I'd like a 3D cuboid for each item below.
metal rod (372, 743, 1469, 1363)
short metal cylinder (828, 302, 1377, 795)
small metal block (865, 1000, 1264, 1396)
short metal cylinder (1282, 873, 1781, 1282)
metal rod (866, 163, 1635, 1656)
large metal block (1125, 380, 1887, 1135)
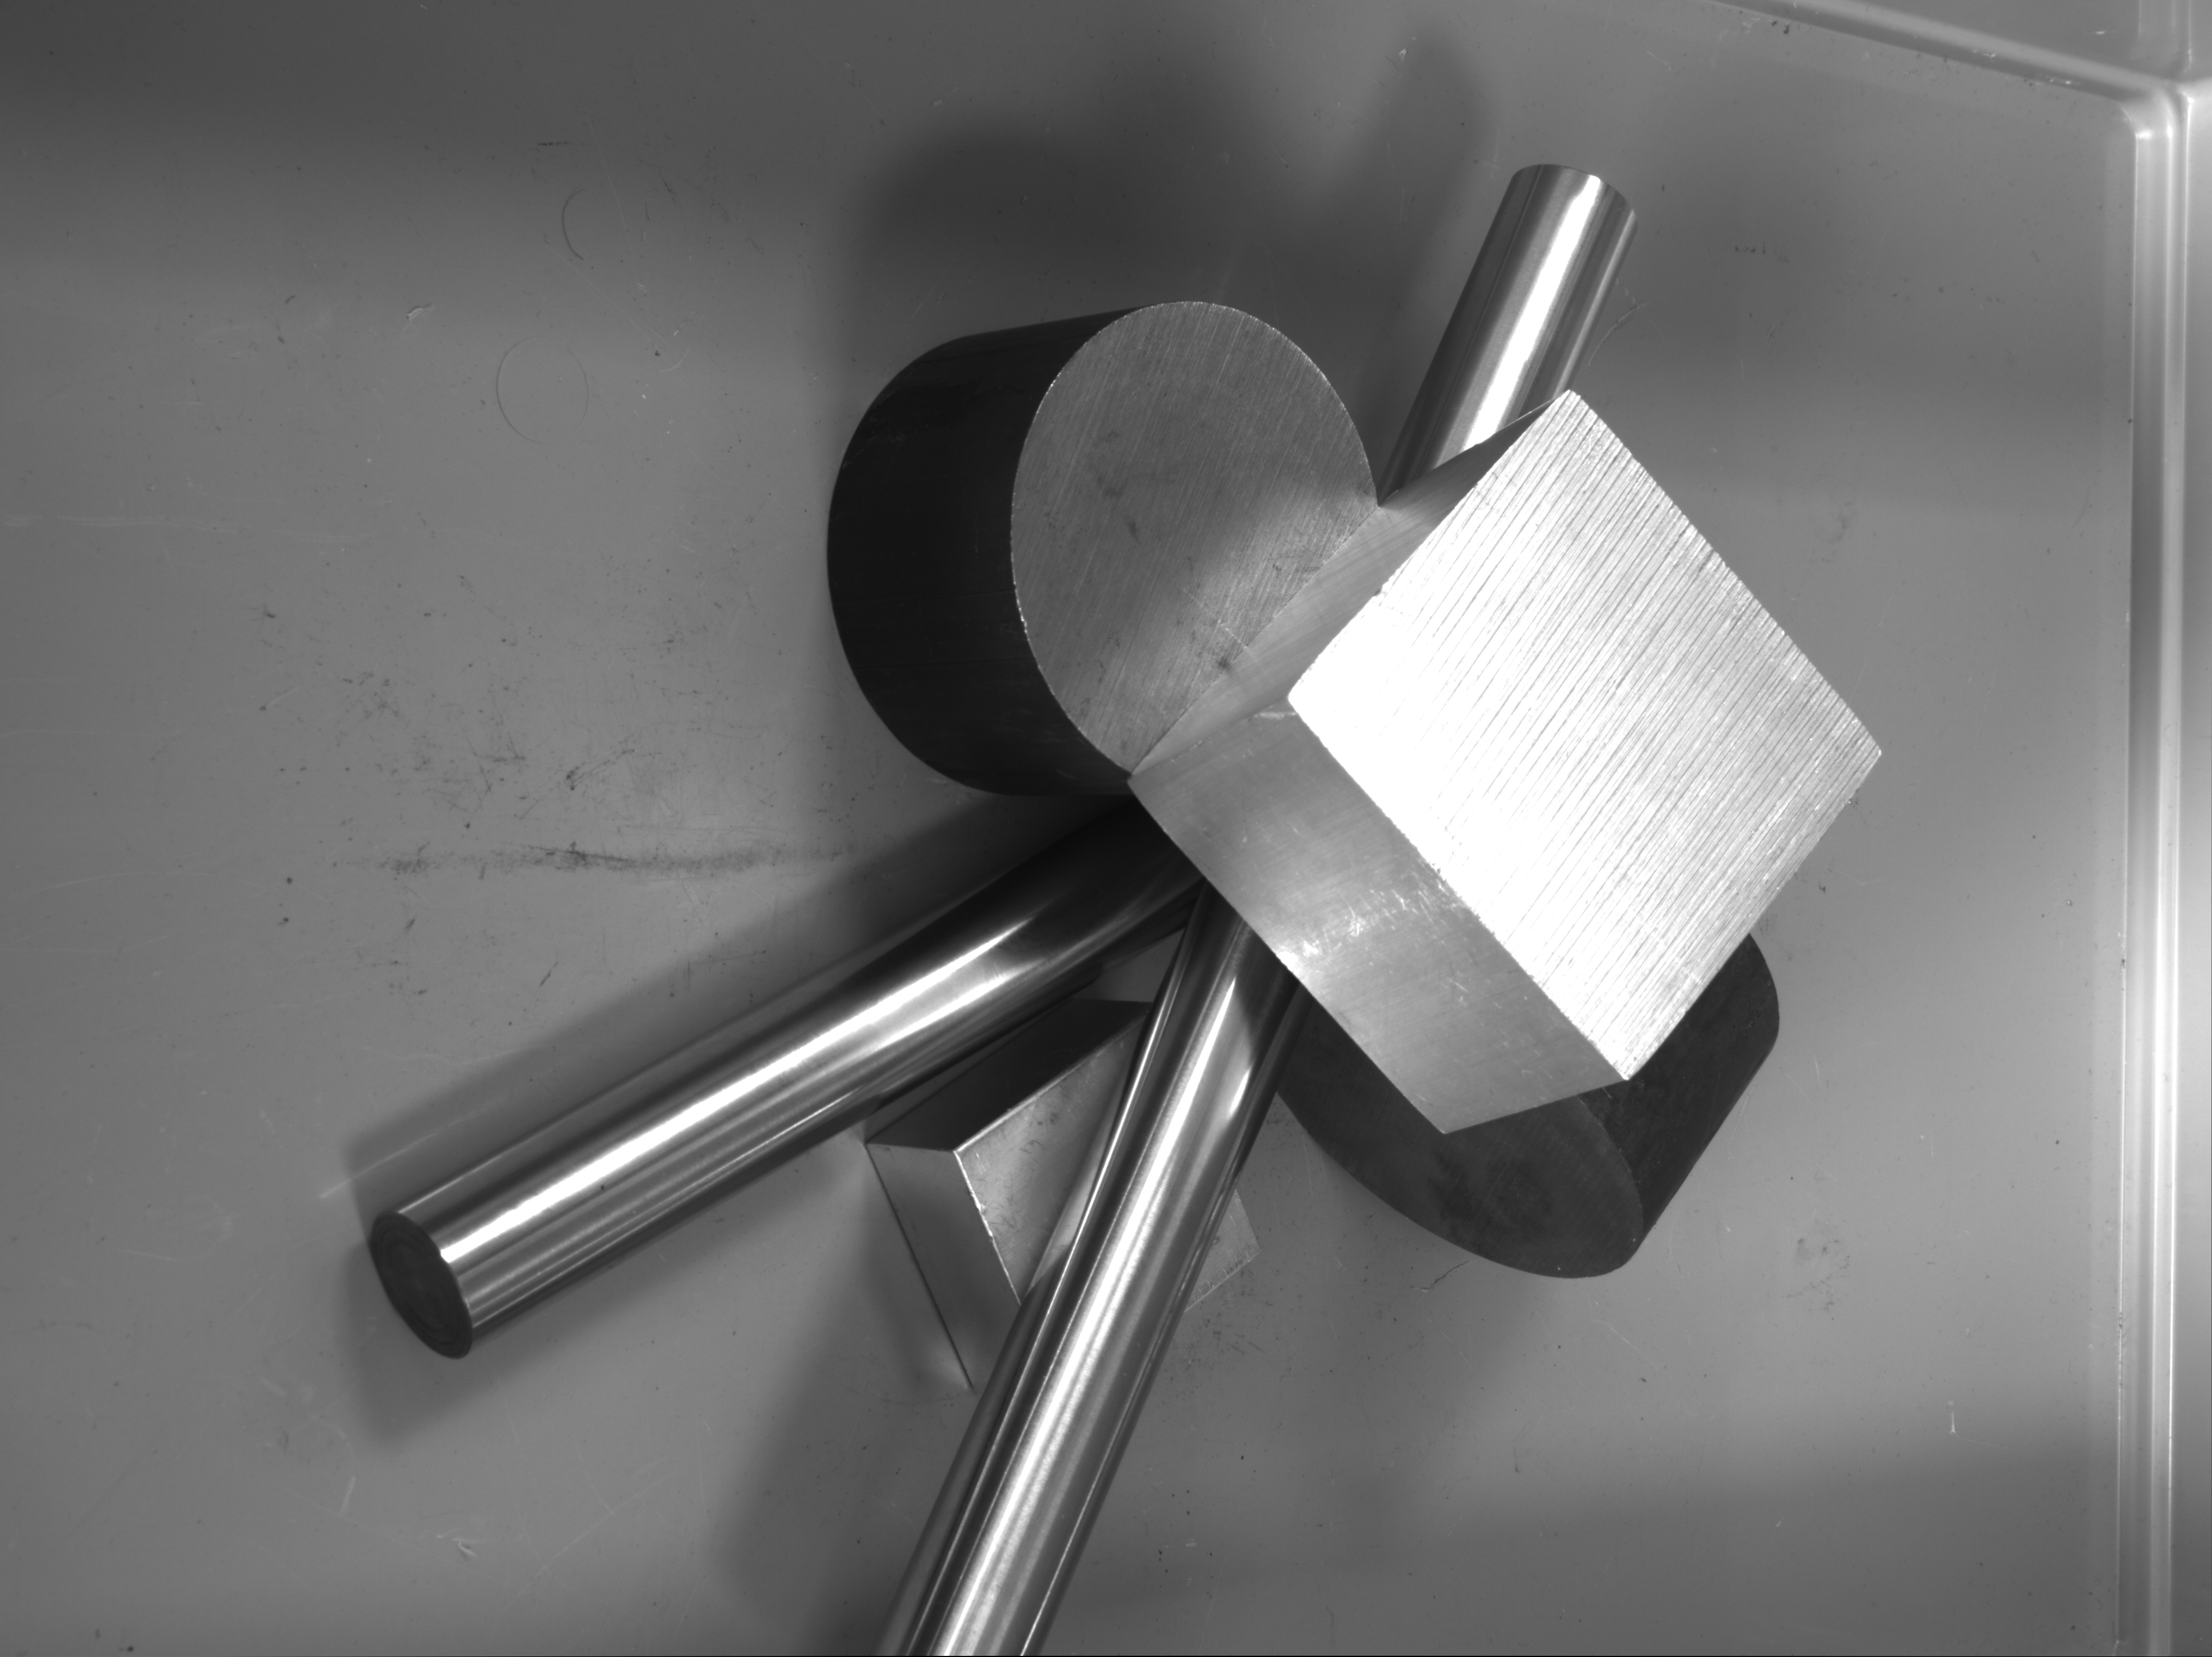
[{"bbox_3d":[0.004,0.009,0.638,0.301,0.025,0.025,-29,108,-36],"label":"metal rod"},{"bbox_3d":[0.000,-0.046,0.619,0.080,0.050,0.080,0,90,-40],"label":"short metal cylinder"},{"bbox_3d":[-0.006,0.064,0.629,0.050,0.025,0.050,-35,111,-34],"label":"small metal block"},{"bbox_3d":[0.074,0.036,0.661,0.050,0.080,0.080,-50,119,-27],"label":"short metal cylinder"},{"bbox_3d":[0.028,0.015,0.626,0.025,0.025,0.300,37,67,-33],"label":"metal rod"},{"bbox_3d":[0.065,-0.011,0.591,0.080,0.050,0.080,48,61,-9],"label":"large metal block"}]
